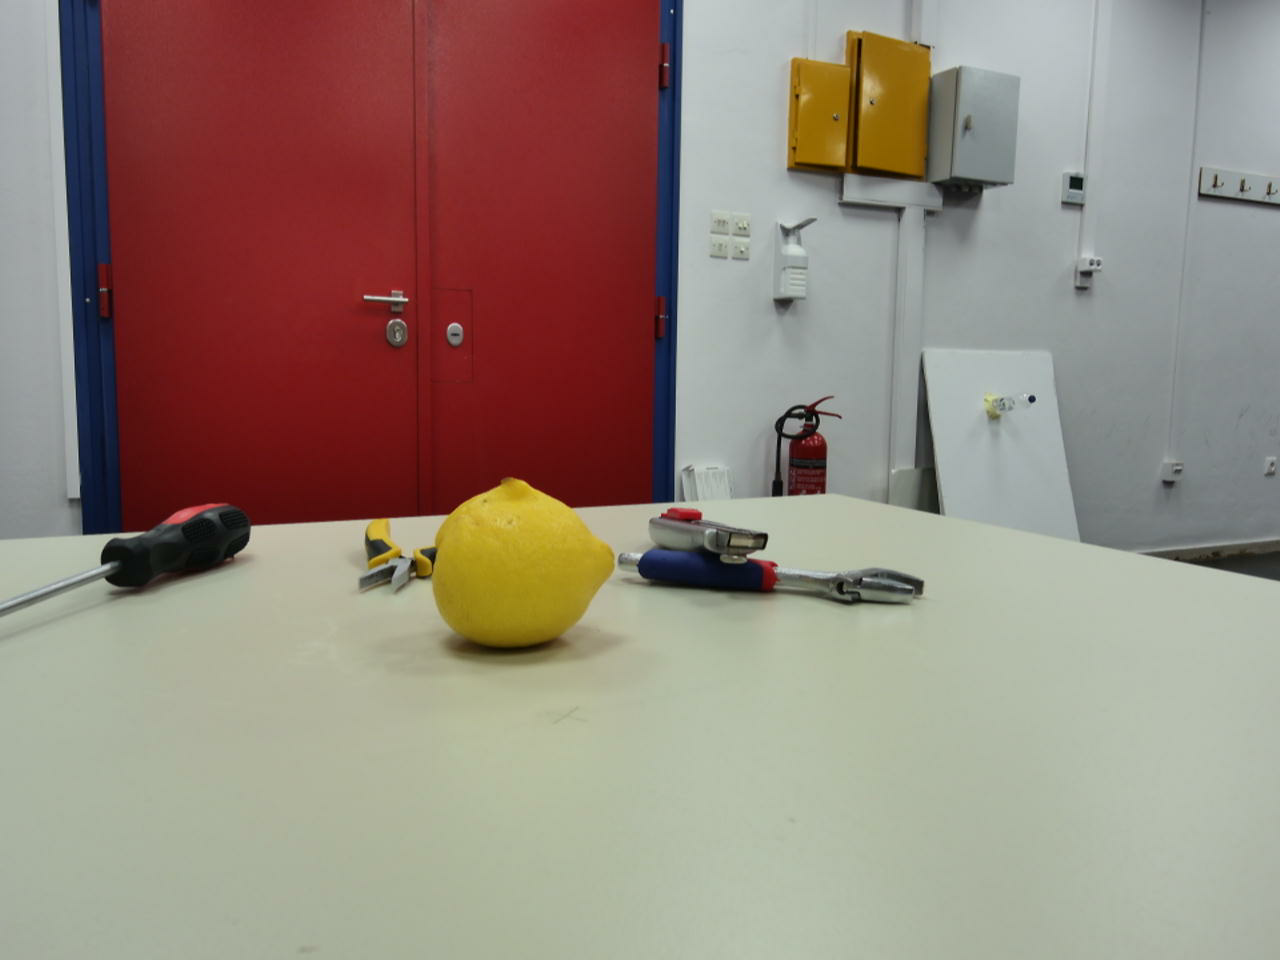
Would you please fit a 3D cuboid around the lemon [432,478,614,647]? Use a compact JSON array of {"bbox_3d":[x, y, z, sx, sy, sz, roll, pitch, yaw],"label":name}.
[{"bbox_3d":[-0.054,0.034,0.426,0.071,0.071,0.070,2,5,30],"label":"lemon"}]
